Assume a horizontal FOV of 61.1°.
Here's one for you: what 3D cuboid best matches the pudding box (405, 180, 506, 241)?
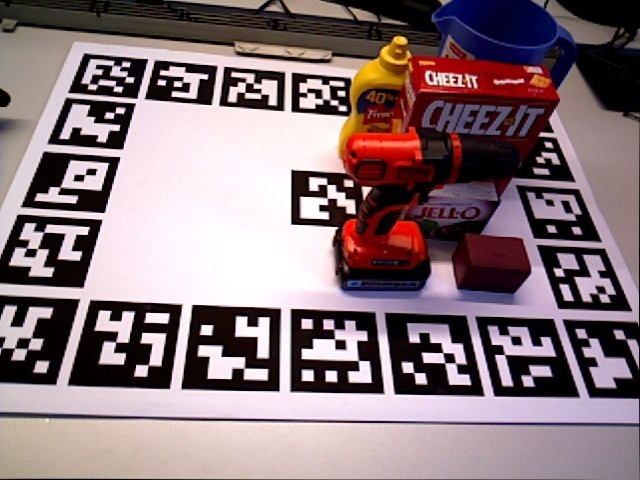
[{"bbox_3d":[0.164,-0.042,0.676,0.113,0.092,0.038,3,52,-3],"label":"pudding box"}]

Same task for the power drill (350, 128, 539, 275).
[{"bbox_3d":[0.113,-0.039,0.579,0.183,0.191,0.056,4,50,-7],"label":"power drill"}]

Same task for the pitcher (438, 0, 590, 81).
[{"bbox_3d":[0.224,-0.194,0.720,0.188,0.248,0.131,8,53,-1],"label":"pitcher"}]

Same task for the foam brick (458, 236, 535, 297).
[{"bbox_3d":[0.217,0.033,0.672,0.077,0.052,0.052,6,55,-5],"label":"foam brick"}]

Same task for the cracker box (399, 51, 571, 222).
[{"bbox_3d":[0.178,-0.113,0.661,0.163,0.218,0.071,1,52,-5],"label":"cracker box"}]

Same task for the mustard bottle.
[{"bbox_3d":[0.091,-0.197,0.716,0.096,0.196,0.057,15,54,2],"label":"mustard bottle"}]
